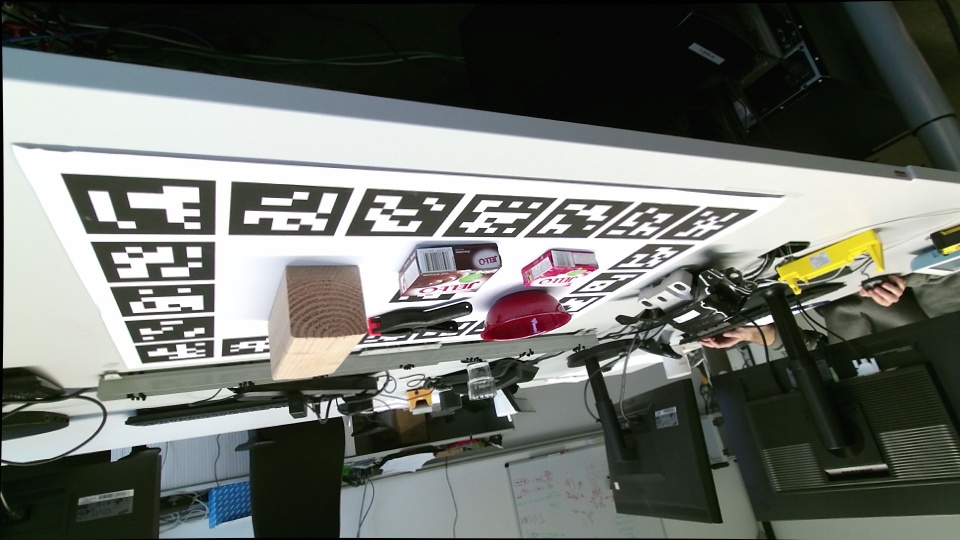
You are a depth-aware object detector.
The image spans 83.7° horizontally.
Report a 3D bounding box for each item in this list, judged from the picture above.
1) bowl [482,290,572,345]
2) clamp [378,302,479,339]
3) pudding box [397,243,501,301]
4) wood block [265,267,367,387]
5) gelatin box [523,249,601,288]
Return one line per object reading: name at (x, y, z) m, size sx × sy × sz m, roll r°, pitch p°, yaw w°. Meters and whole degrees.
bowl at (0.076, 0.078, 0.938) m, size 0.162 × 0.055 × 0.162 m, roll -11°, pitch 155°, yaw -5°
clamp at (-0.088, 0.091, 0.904) m, size 0.166 × 0.036 × 0.122 m, roll -5°, pitch 157°, yaw -16°
pudding box at (-0.042, 0.002, 0.696) m, size 0.114 × 0.038 × 0.090 m, roll -4°, pitch 152°, yaw -27°
wood block at (-0.225, 0.080, 0.709) m, size 0.090 × 0.090 × 0.206 m, roll 1°, pitch 154°, yaw -28°
gelatin box at (0.120, 0.001, 0.790) m, size 0.090 × 0.030 × 0.073 m, roll 2°, pitch 151°, yaw -34°
